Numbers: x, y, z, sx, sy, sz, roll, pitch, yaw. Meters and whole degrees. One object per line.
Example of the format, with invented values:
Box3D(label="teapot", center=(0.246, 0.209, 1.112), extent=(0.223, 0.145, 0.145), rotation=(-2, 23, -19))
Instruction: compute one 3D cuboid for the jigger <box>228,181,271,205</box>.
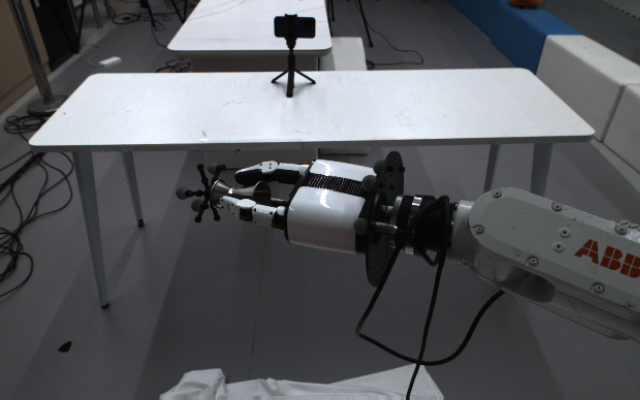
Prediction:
Box3D(label="jigger", center=(-0.096, -0.011, 0.636), extent=(0.071, 0.043, 0.043), rotation=(3, 32, 25))
